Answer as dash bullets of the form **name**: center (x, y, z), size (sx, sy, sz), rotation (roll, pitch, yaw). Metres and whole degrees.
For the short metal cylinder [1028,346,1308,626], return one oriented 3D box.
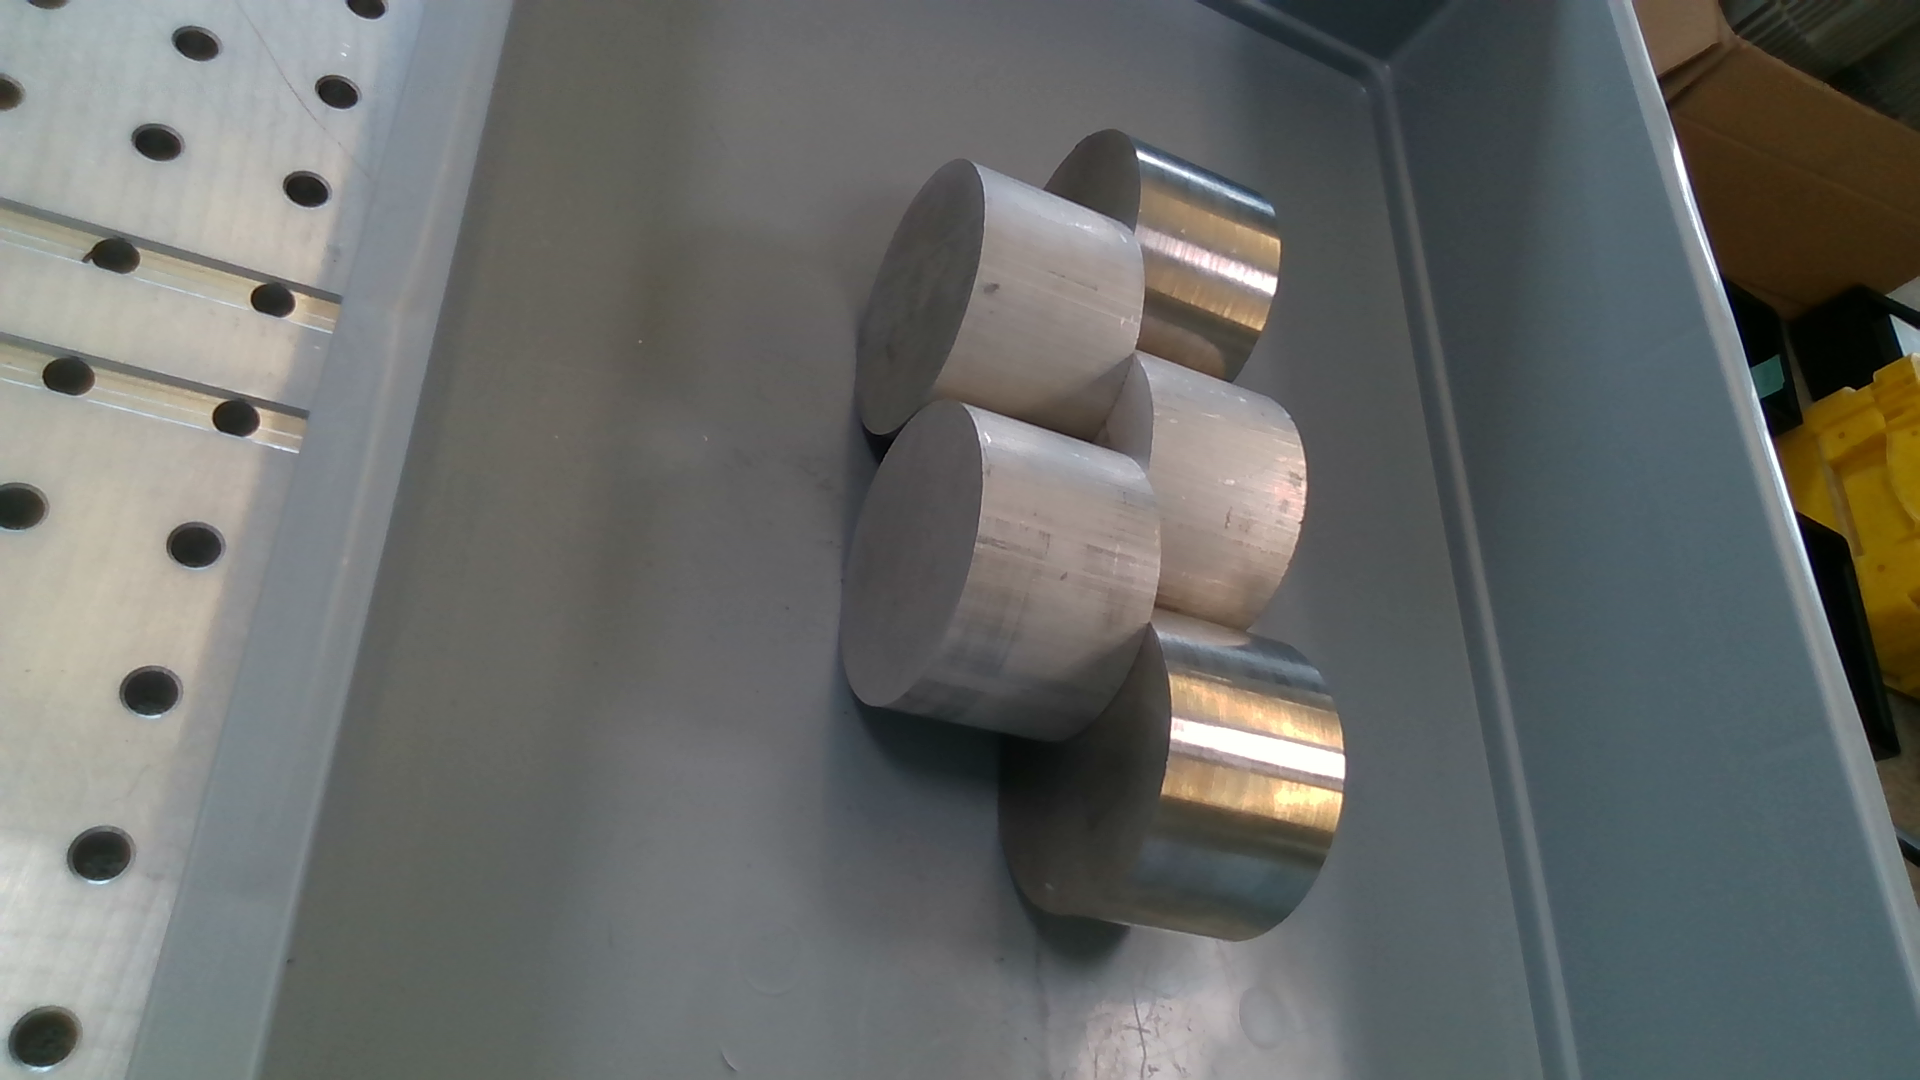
- **short metal cylinder**: center (0.053, -0.011, 0.395), size (0.050, 0.080, 0.080), rotation (15, 58, -24)

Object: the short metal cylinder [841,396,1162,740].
- **short metal cylinder**: center (0.008, 0.008, 0.357), size (0.050, 0.080, 0.080), rotation (15, 58, -24)

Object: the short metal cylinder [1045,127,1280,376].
- **short metal cylinder**: center (0.055, -0.082, 0.434), size (0.050, 0.080, 0.080), rotation (15, 58, -24)

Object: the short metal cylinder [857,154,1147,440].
- **short metal cylinder**: center (0.010, -0.063, 0.396), size (0.050, 0.080, 0.080), rotation (15, 58, -24)

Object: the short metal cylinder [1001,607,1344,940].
- **short metal cylinder**: center (0.052, 0.059, 0.357), size (0.050, 0.080, 0.080), rotation (16, 58, -24)
